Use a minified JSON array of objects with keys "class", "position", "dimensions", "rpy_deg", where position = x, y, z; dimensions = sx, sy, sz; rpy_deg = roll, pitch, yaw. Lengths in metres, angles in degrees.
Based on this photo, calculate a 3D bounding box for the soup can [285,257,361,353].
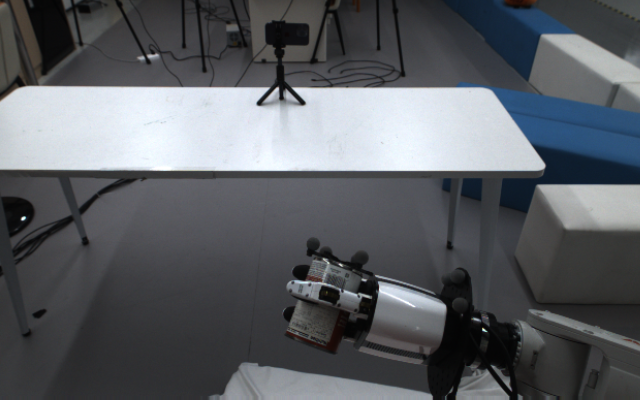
[{"class":"soup can","position":[0.008,0.129,0.595],"dimensions":[0.067,0.067,0.101],"rpy_deg":[15,75,18]}]
